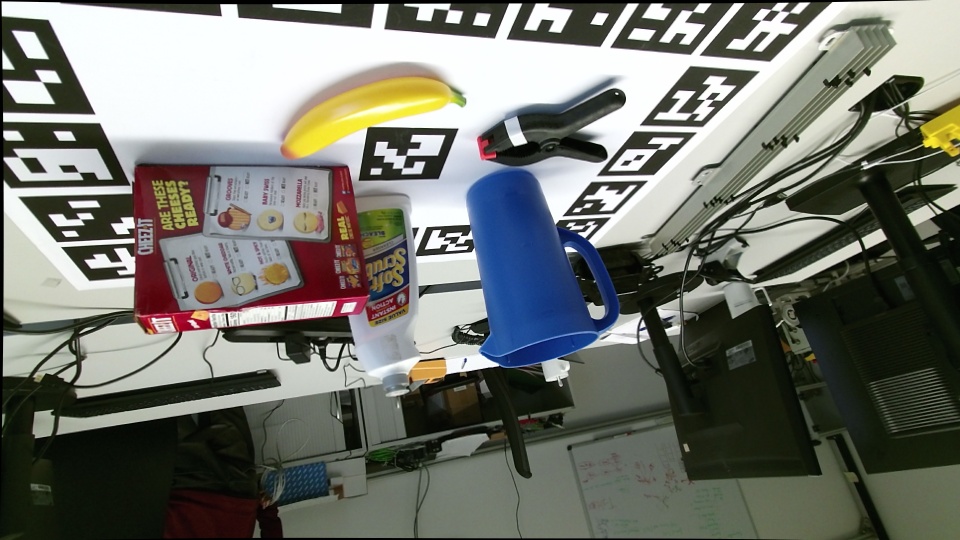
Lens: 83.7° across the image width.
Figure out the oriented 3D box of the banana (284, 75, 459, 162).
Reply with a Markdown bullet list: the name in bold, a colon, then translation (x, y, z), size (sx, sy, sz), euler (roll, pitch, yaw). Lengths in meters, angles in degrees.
- **banana**: translation (-0.124, -0.157, 0.549), size (0.198, 0.038, 0.074), euler (-18, 159, 11)

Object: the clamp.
- **clamp**: translation (0.077, -0.158, 0.645), size (0.166, 0.036, 0.122), euler (-10, 160, -4)

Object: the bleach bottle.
- **bleach bottle**: translation (-0.114, 0.023, 0.693), size (0.103, 0.249, 0.068), euler (-6, 158, -21)

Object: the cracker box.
- **cracker box**: translation (-0.244, -0.020, 0.584), size (0.214, 0.163, 0.072), euler (-6, 160, -23)

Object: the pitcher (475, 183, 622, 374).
- **pitcher**: translation (0.077, 0.008, 0.718), size (0.189, 0.241, 0.133), euler (-10, 159, -2)
